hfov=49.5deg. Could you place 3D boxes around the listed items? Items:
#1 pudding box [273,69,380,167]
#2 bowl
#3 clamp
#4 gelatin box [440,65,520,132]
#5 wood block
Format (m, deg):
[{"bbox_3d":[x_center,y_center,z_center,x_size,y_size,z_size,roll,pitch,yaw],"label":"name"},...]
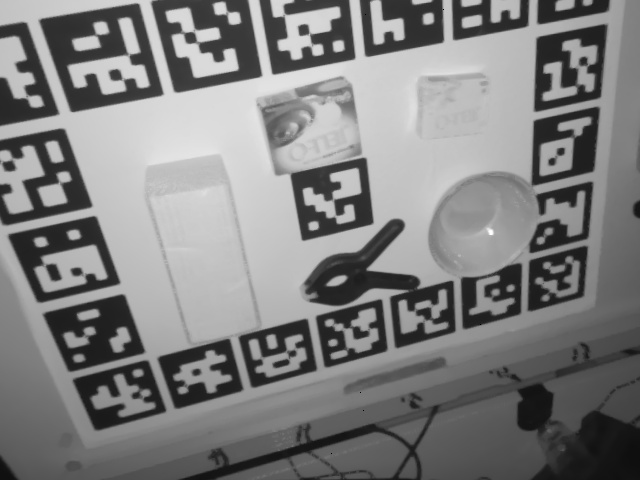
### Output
[{"bbox_3d":[0.009,-0.141,0.800,0.114,0.038,0.089,-14,116,-9],"label":"pudding box"},{"bbox_3d":[0.238,-0.027,0.916,0.163,0.055,0.160,-5,116,-10],"label":"bowl"},{"bbox_3d":[0.084,0.038,0.923,0.165,0.036,0.121,-21,120,-1],"label":"clamp"},{"bbox_3d":[0.192,-0.171,0.834,0.090,0.030,0.072,-5,117,-12],"label":"gelatin box"},{"bbox_3d":[-0.126,0.004,0.811,0.090,0.091,0.205,-10,119,-7],"label":"wood block"}]
